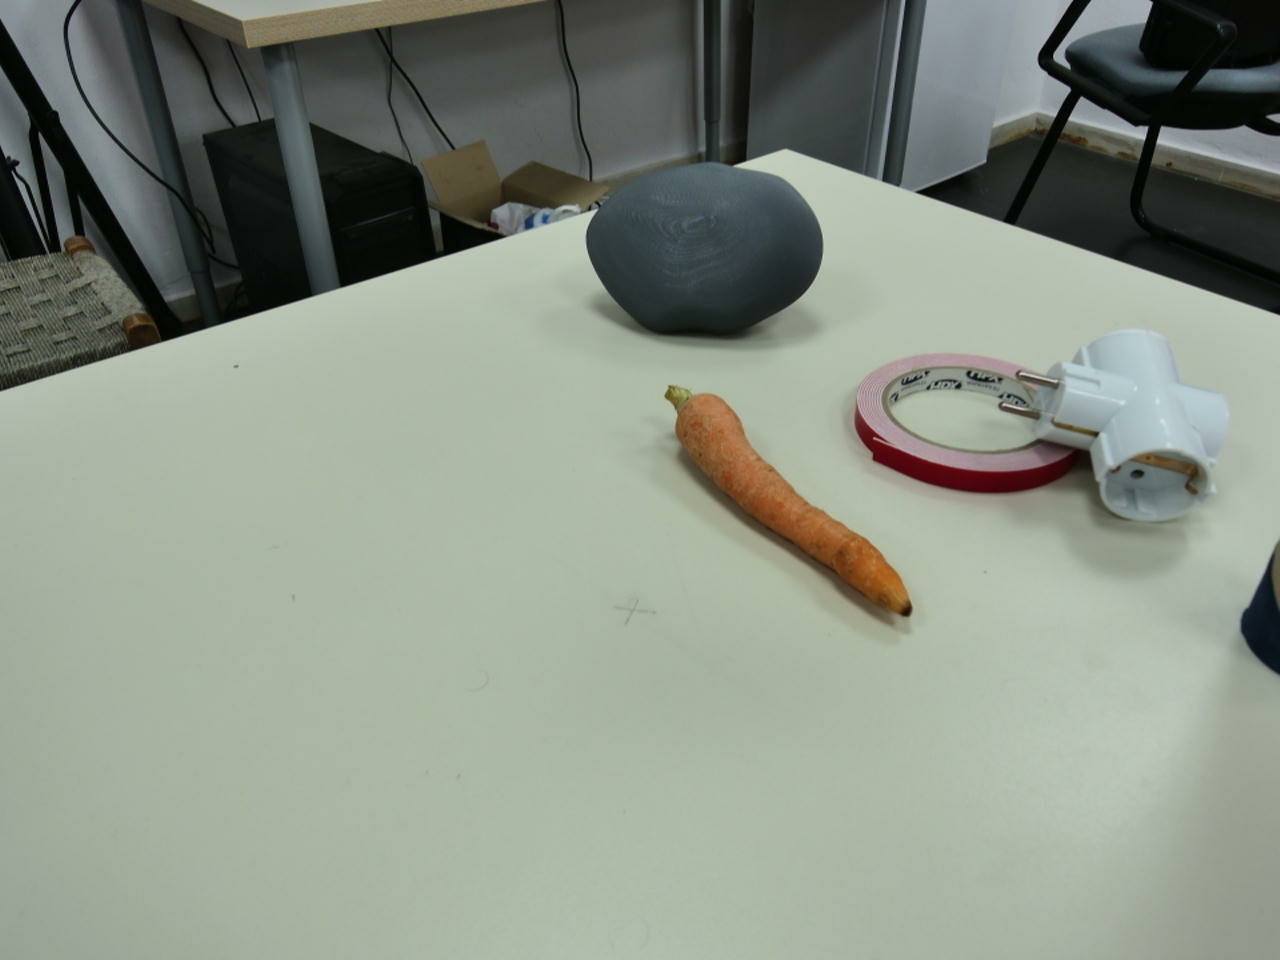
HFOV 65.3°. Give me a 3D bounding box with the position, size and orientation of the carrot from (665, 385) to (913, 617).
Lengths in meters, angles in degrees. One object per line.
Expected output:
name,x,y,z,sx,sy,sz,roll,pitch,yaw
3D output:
carrot,0.059,0.004,0.443,0.030,0.032,0.173,-18,38,-22
